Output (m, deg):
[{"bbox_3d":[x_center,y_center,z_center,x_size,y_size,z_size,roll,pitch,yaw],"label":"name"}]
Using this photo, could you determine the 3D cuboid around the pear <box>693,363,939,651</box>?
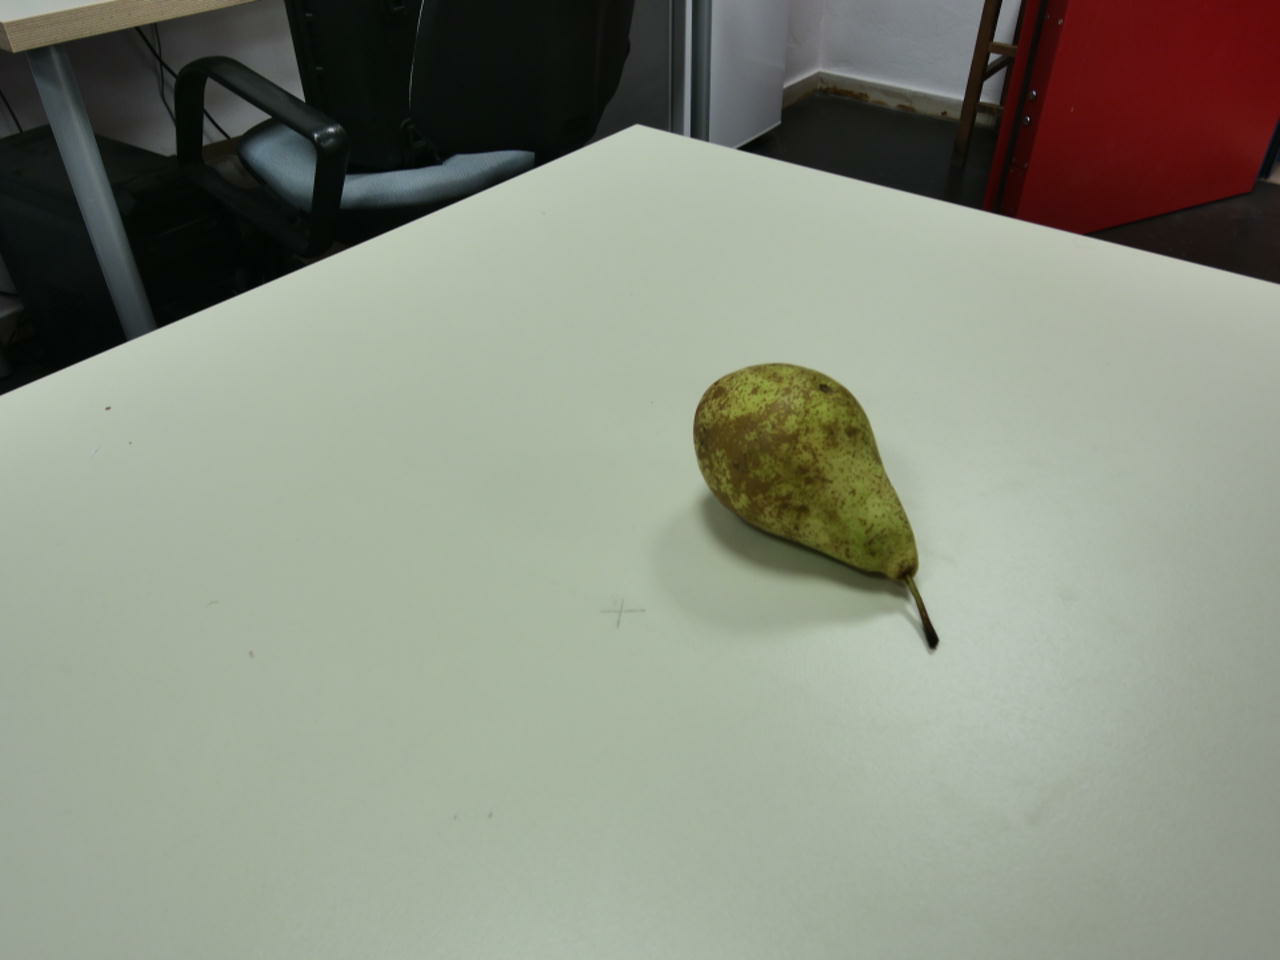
[{"bbox_3d":[0.080,-0.005,0.417,0.128,0.075,0.071,21,41,25],"label":"pear"}]
